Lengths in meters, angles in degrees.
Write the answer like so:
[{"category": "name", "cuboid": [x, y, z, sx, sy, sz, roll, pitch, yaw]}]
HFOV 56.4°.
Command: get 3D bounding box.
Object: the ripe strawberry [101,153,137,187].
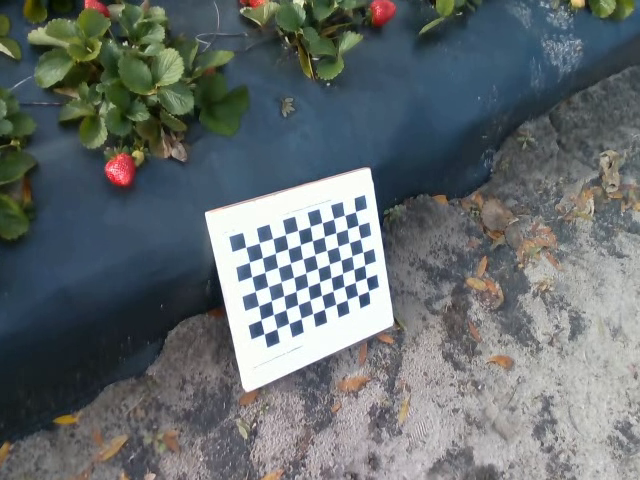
[{"category": "ripe strawberry", "cuboid": [-0.270, -0.091, 0.811, 0.045, 0.058, 0.051, -15, -34, -31]}]
